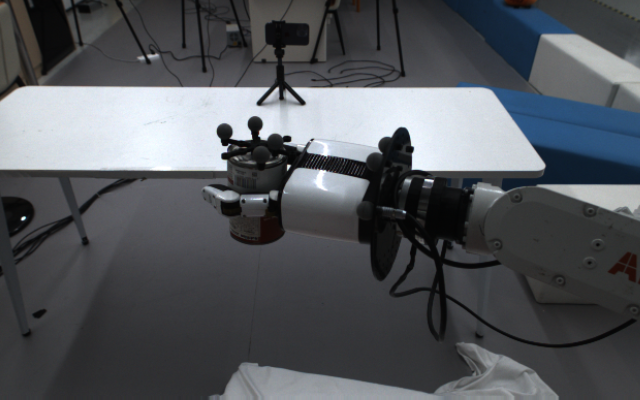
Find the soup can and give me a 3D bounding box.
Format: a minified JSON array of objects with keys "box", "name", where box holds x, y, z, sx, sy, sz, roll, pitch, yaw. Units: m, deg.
[{"box":[-0.069,-0.008,0.551,0.067,0.101,0.067,3,30,-2],"name":"soup can"}]
